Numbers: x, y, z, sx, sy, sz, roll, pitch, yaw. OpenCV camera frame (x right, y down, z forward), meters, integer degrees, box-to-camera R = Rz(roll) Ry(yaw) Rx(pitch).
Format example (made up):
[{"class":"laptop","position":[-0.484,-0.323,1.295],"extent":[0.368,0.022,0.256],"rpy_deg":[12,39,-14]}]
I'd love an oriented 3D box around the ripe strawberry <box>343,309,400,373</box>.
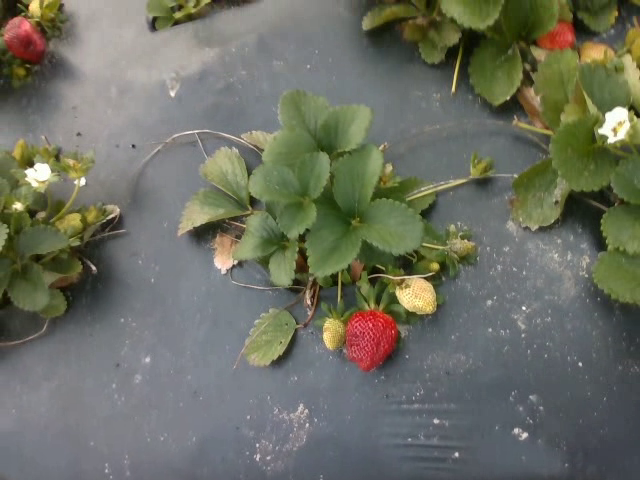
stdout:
[{"class":"ripe strawberry","position":[0.039,0.083,0.472],"extent":[0.047,0.045,0.059],"rpy_deg":[-6,40,22]}]
